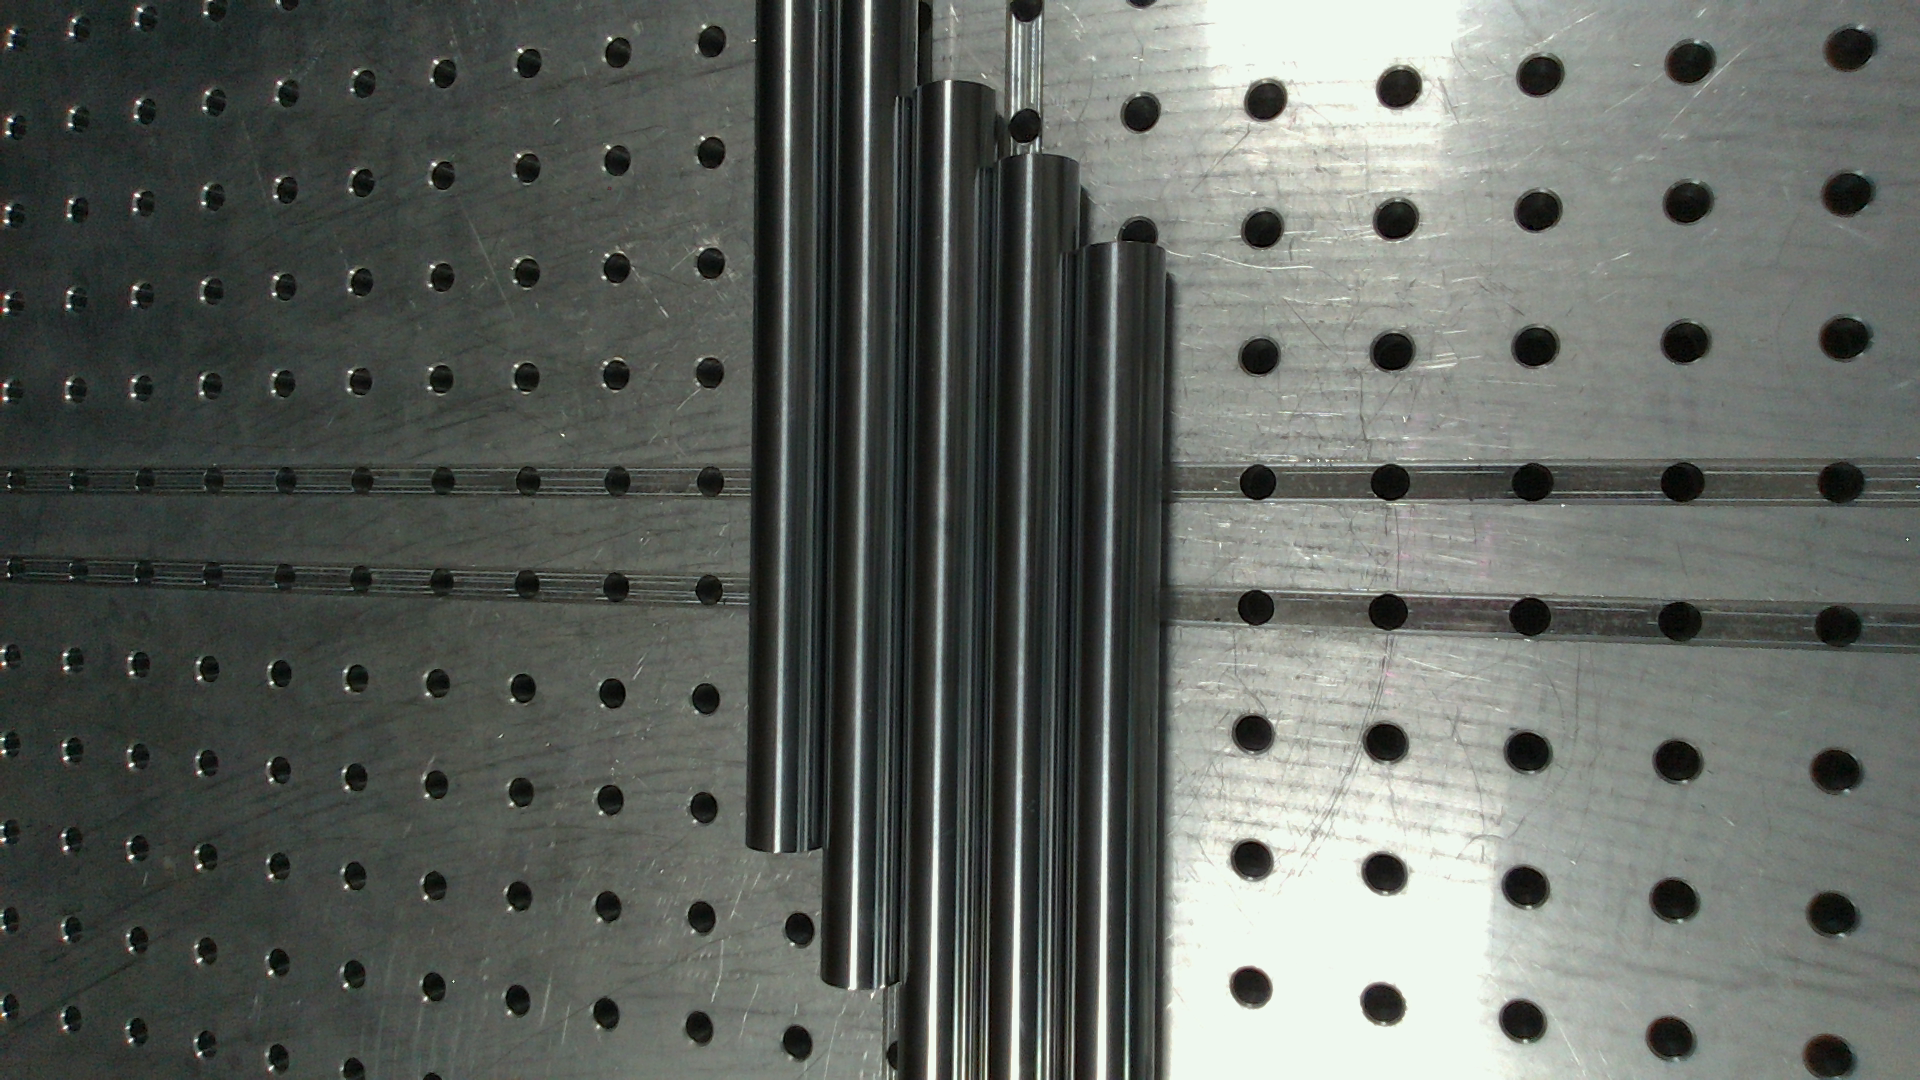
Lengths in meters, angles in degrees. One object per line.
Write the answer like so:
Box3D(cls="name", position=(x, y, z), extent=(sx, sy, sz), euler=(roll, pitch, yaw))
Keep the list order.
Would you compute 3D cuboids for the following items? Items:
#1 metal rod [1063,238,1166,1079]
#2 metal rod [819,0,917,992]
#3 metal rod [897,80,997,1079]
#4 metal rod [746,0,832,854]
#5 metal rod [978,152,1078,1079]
Box3D(cls="metal rod", position=(0.043, 0.069, 0.382), extent=(0.025, 0.025, 0.300), euler=(1, 90, 20))
Box3D(cls="metal rod", position=(-0.027, -0.020, 0.407), extent=(0.025, 0.025, 0.300), euler=(1, 90, 20))
Box3D(cls="metal rod", position=(-0.004, 0.021, 0.399), extent=(0.025, 0.025, 0.300), euler=(1, 90, 20))
Box3D(cls="metal rod", position=(-0.051, -0.058, 0.416), extent=(0.025, 0.025, 0.300), euler=(1, 90, 20))
Box3D(cls="metal rod", position=(0.019, 0.043, 0.391), extent=(0.025, 0.025, 0.300), euler=(1, 90, 20))
